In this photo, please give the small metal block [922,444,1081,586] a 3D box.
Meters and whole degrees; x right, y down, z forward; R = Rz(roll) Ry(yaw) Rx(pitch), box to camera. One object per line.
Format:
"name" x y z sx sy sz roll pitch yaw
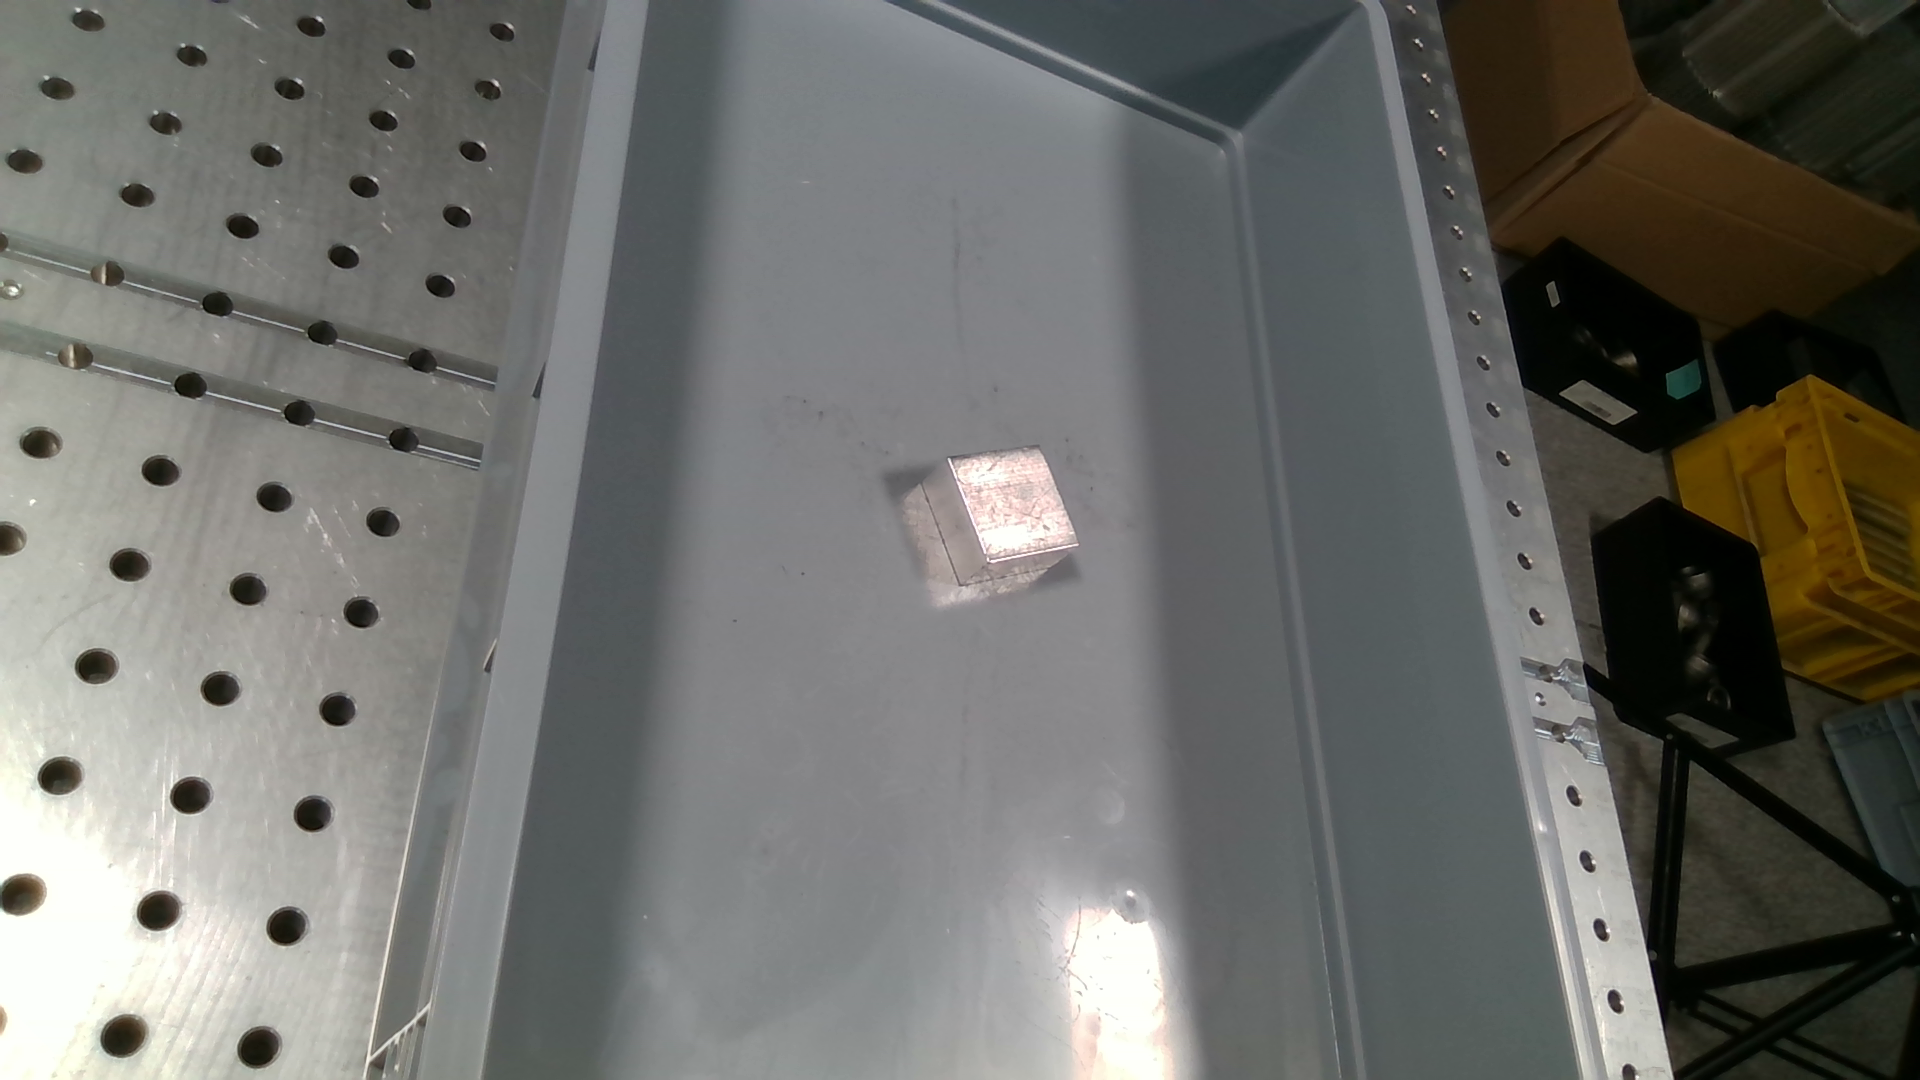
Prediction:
"small metal block" 0.017 -0.011 0.599 0.050 0.025 0.050 -10 71 -35
